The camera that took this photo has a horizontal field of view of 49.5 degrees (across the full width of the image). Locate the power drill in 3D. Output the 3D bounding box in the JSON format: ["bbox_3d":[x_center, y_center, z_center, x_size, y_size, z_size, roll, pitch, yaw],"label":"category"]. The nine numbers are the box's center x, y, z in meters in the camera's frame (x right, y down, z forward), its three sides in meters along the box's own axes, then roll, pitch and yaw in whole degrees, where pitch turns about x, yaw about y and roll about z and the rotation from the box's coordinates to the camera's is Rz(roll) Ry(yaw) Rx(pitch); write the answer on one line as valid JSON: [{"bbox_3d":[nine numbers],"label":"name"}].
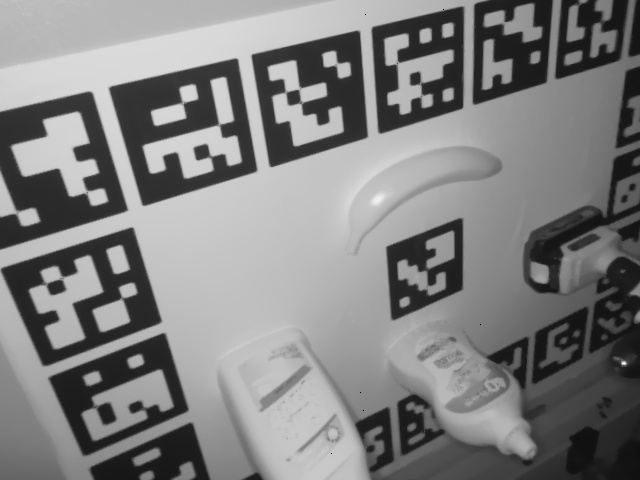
[{"bbox_3d":[0.363,0.069,0.748,0.186,0.186,0.057,-29,123,-17],"label":"power drill"}]

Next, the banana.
[{"bbox_3d":[0.125,-0.041,0.688,0.199,0.038,0.074,-28,121,-17],"label":"banana"}]

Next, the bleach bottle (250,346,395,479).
[{"bbox_3d":[0.021,0.194,0.622,0.104,0.249,0.067,-14,119,-20],"label":"bleach bottle"}]

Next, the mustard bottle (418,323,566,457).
[{"bbox_3d":[0.191,0.166,0.738,0.097,0.190,0.058,-28,123,-11],"label":"mustard bottle"}]
